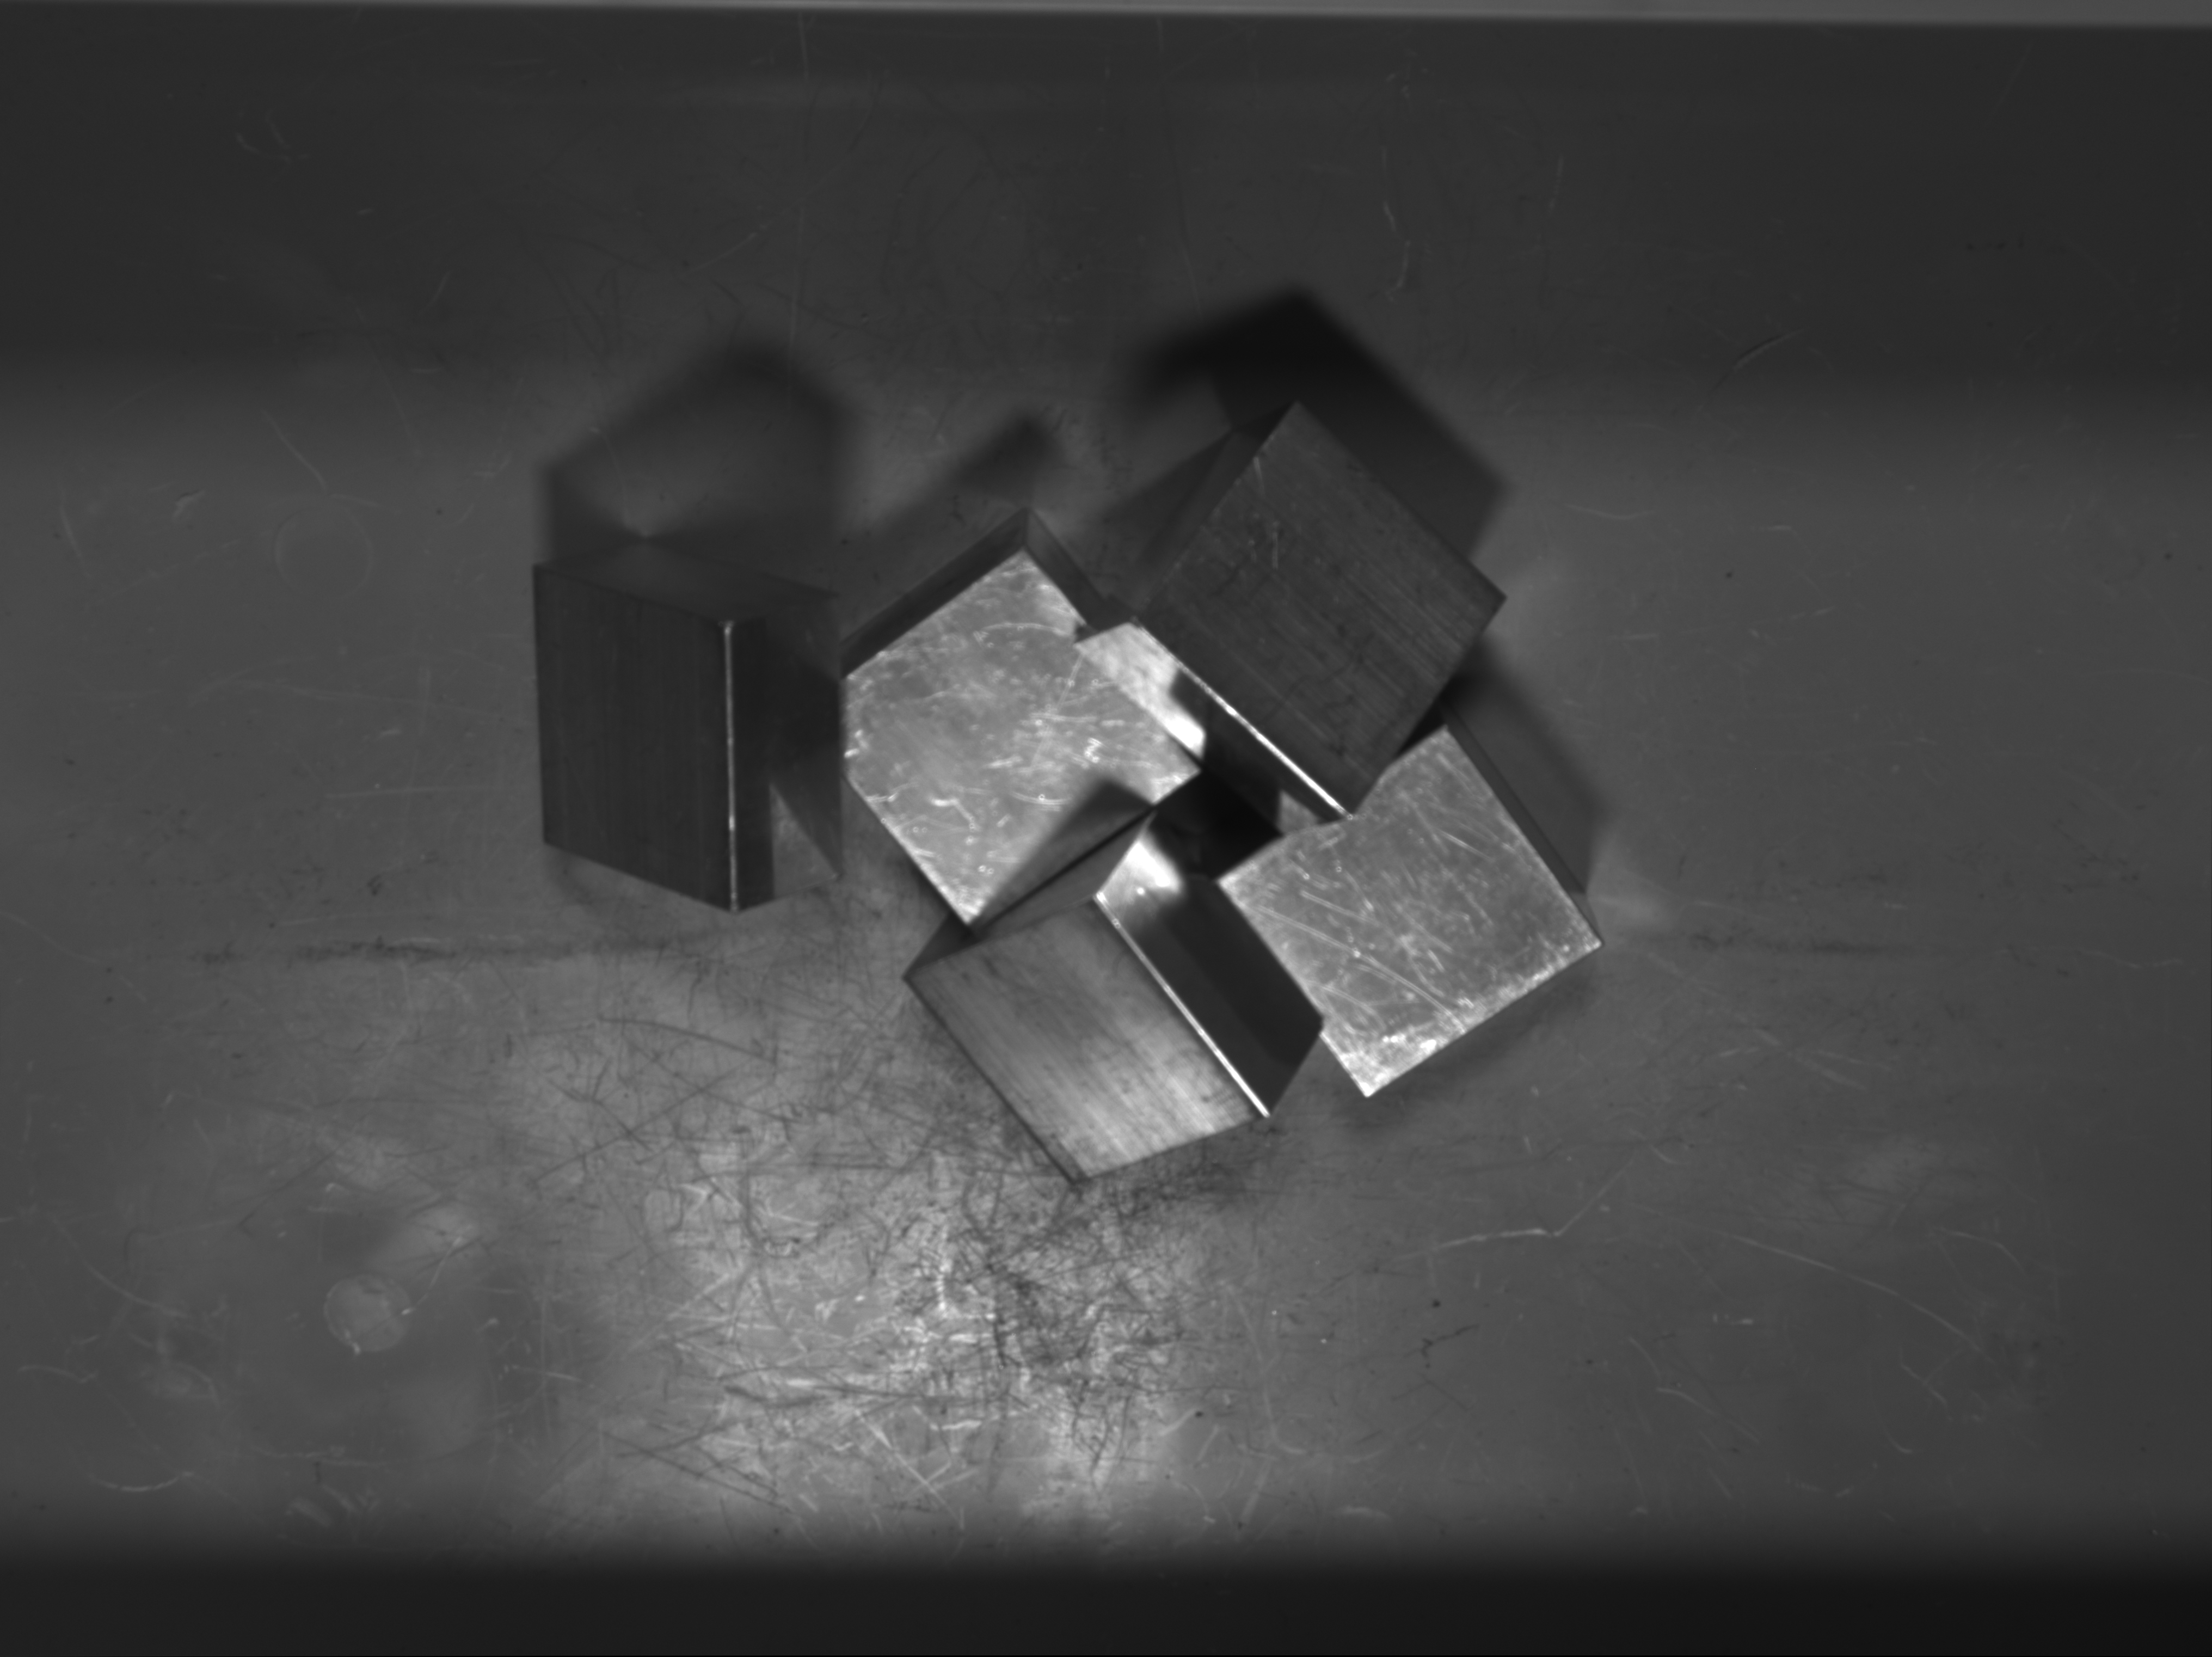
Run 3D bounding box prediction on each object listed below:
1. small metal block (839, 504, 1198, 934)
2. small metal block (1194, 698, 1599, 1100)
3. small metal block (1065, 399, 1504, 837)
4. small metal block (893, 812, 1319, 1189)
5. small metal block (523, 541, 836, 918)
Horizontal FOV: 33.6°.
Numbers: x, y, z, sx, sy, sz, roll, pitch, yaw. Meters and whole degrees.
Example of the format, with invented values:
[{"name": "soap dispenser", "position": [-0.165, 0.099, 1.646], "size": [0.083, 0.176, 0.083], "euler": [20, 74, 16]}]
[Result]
[{"name": "small metal block", "position": [-0.019, -0.019, 0.635], "size": [0.050, 0.025, 0.050], "euler": [-36, 106, 12]}, {"name": "small metal block", "position": [0.051, 0.011, 0.646], "size": [0.050, 0.025, 0.050], "euler": [-34, 107, 11]}, {"name": "small metal block", "position": [0.030, -0.035, 0.617], "size": [0.050, 0.025, 0.050], "euler": [41, 69, -14]}, {"name": "small metal block", "position": [0.000, 0.031, 0.641], "size": [0.050, 0.025, 0.050], "euler": [-24, 111, 41]}, {"name": "small metal block", "position": [-0.072, -0.018, 0.620], "size": [0.050, 0.025, 0.050], "euler": [18, 116, 40]}]
